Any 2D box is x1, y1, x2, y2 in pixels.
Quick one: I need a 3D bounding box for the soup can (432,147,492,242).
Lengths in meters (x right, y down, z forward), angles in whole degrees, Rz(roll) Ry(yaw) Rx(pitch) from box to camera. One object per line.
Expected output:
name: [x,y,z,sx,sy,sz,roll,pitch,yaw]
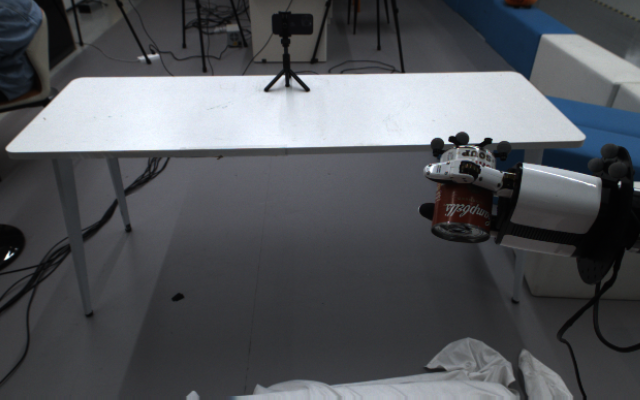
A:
soup can: [0.175,-0.007,0.582,0.067,0.067,0.101,9,70,10]
